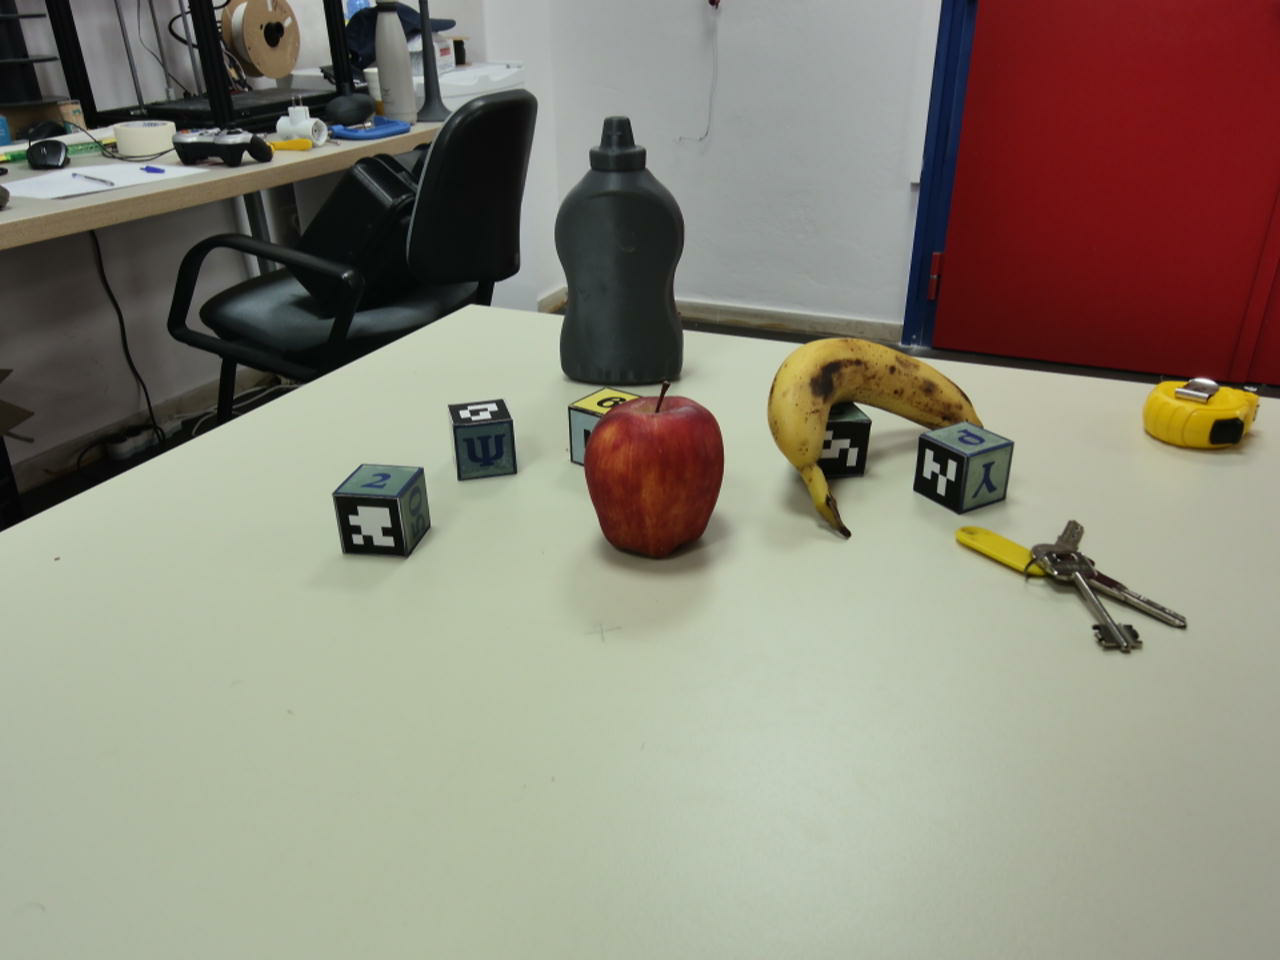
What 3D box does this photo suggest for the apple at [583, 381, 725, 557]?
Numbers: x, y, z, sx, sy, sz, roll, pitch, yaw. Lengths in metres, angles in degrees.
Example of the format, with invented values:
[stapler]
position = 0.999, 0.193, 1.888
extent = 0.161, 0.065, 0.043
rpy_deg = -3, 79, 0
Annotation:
[apple]
position = 0.008, -0.010, 0.536
extent = 0.083, 0.090, 0.083
rpy_deg = 0, 25, 0
